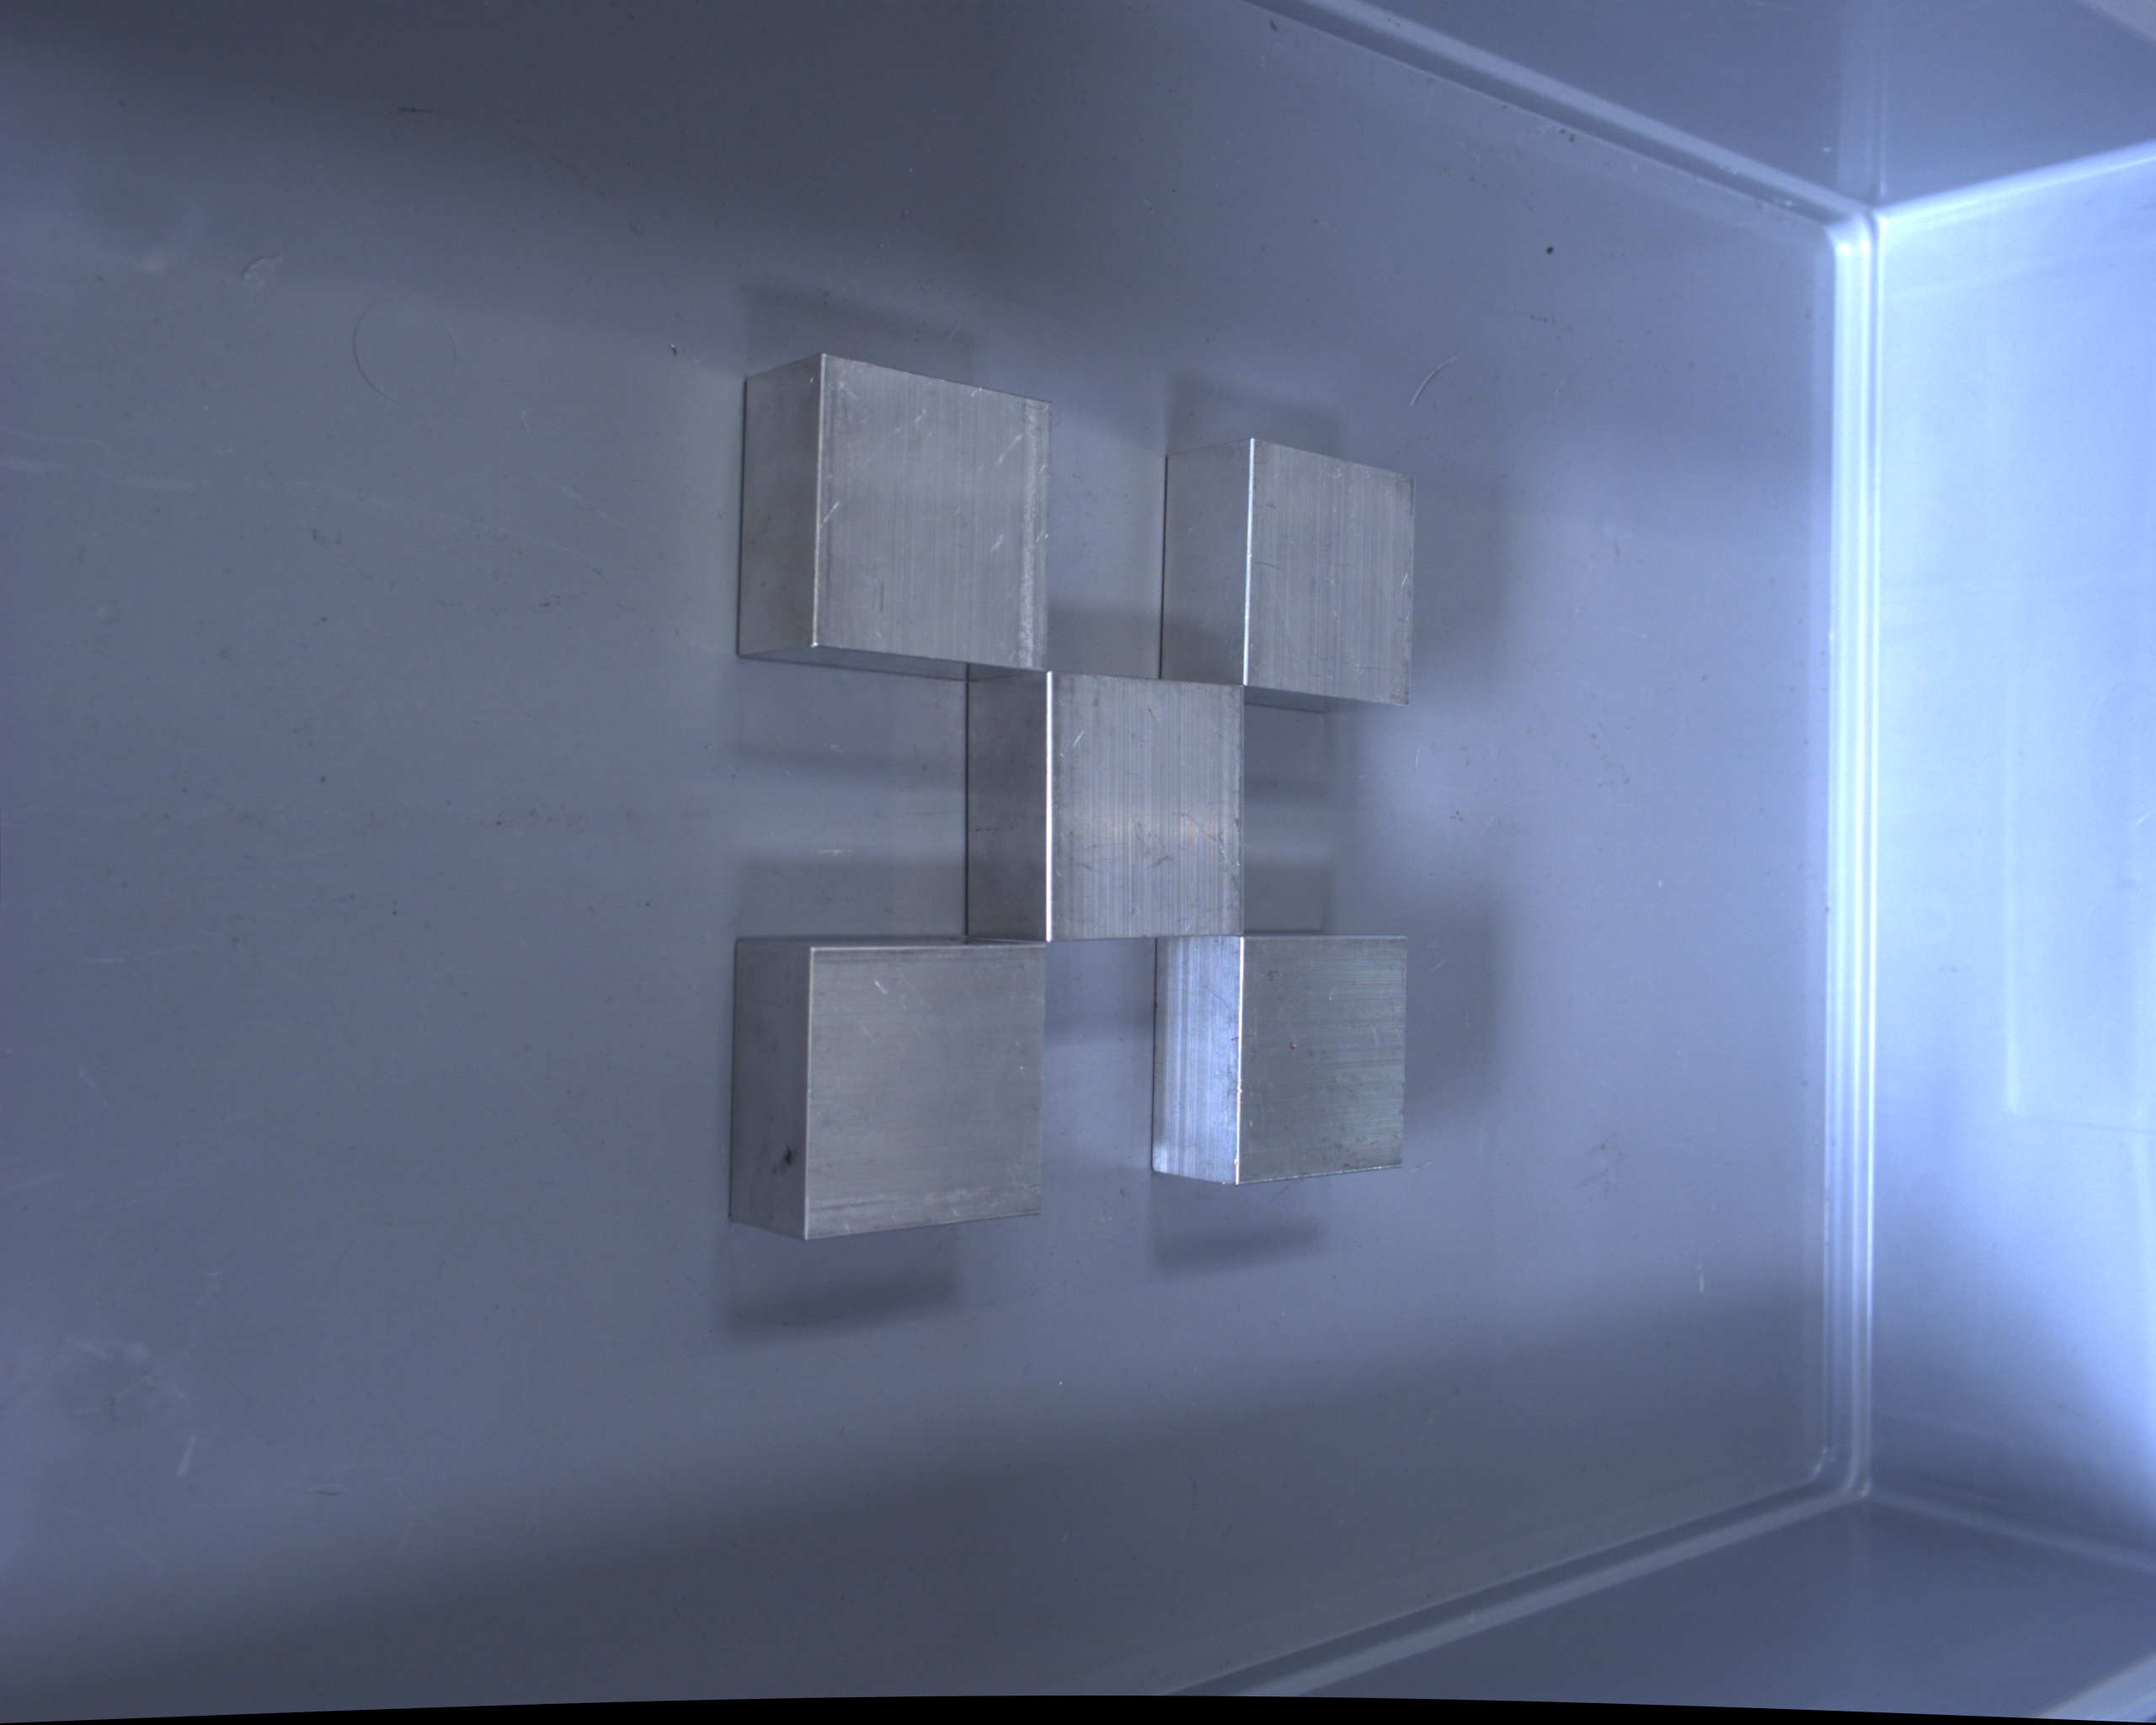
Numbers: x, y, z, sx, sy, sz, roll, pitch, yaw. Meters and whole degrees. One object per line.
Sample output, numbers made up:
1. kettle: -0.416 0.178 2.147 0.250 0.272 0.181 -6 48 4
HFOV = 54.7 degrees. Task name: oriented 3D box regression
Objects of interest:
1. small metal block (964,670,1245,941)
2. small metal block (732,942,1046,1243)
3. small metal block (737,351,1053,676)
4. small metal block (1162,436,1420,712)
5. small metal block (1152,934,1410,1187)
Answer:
1. small metal block: 0.006 -0.010 0.408 0.050 0.025 0.050 1 90 -40
2. small metal block: -0.034 0.039 0.376 0.050 0.025 0.050 1 90 -40
3. small metal block: -0.033 -0.061 0.376 0.050 0.025 0.050 2 89 -40
4. small metal block: 0.045 -0.059 0.441 0.050 0.025 0.050 3 88 -40
5. small metal block: 0.043 0.040 0.440 0.050 0.025 0.050 2 89 -40
